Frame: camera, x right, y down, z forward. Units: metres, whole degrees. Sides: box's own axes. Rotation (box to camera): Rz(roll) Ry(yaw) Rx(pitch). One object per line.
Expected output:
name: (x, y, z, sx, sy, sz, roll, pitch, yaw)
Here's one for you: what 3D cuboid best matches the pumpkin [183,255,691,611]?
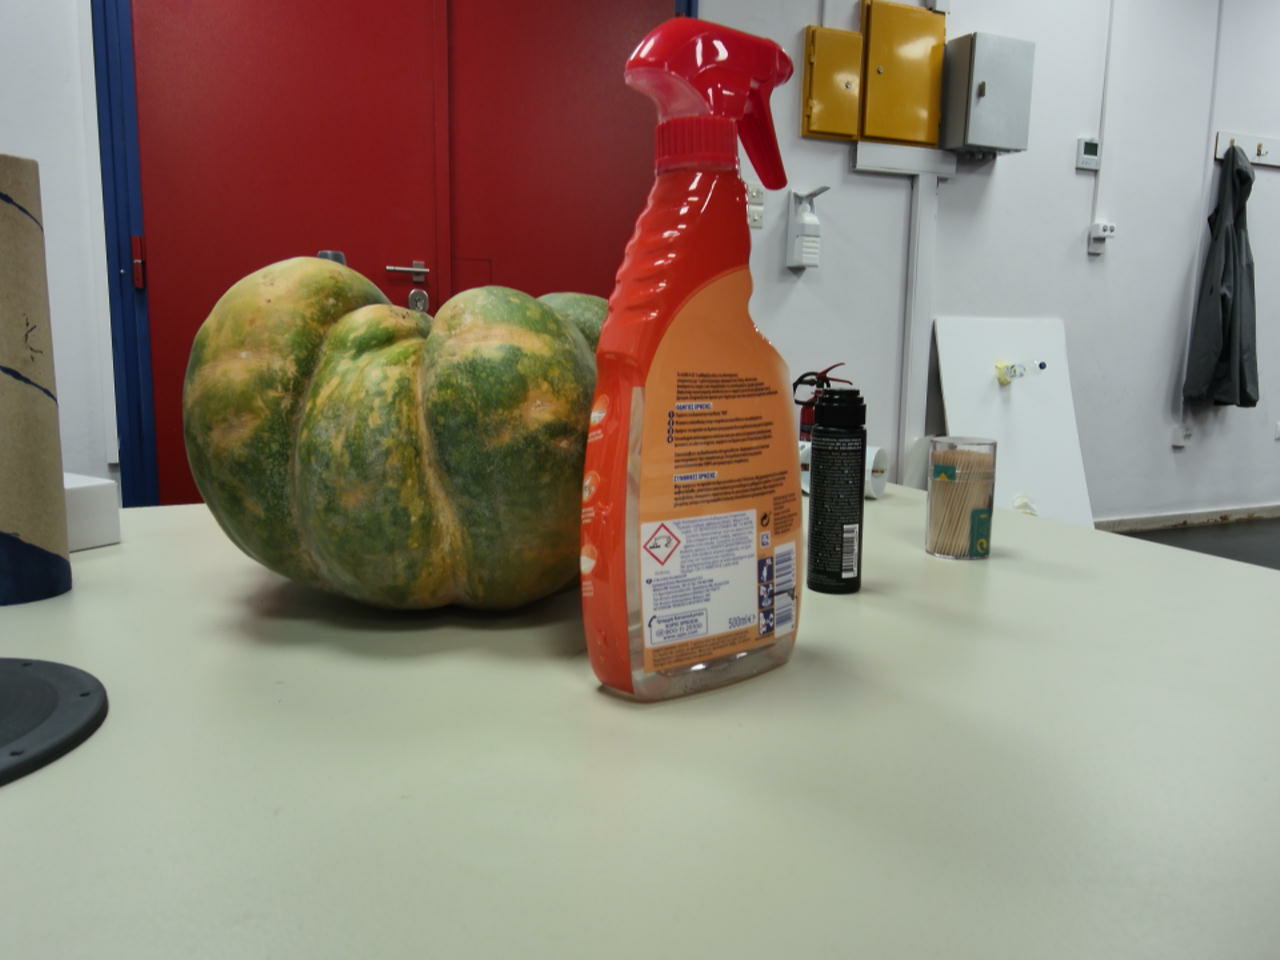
pumpkin: (-0.105, -0.024, 0.533, 0.270, 0.173, 0.237, 1, 7, 12)
